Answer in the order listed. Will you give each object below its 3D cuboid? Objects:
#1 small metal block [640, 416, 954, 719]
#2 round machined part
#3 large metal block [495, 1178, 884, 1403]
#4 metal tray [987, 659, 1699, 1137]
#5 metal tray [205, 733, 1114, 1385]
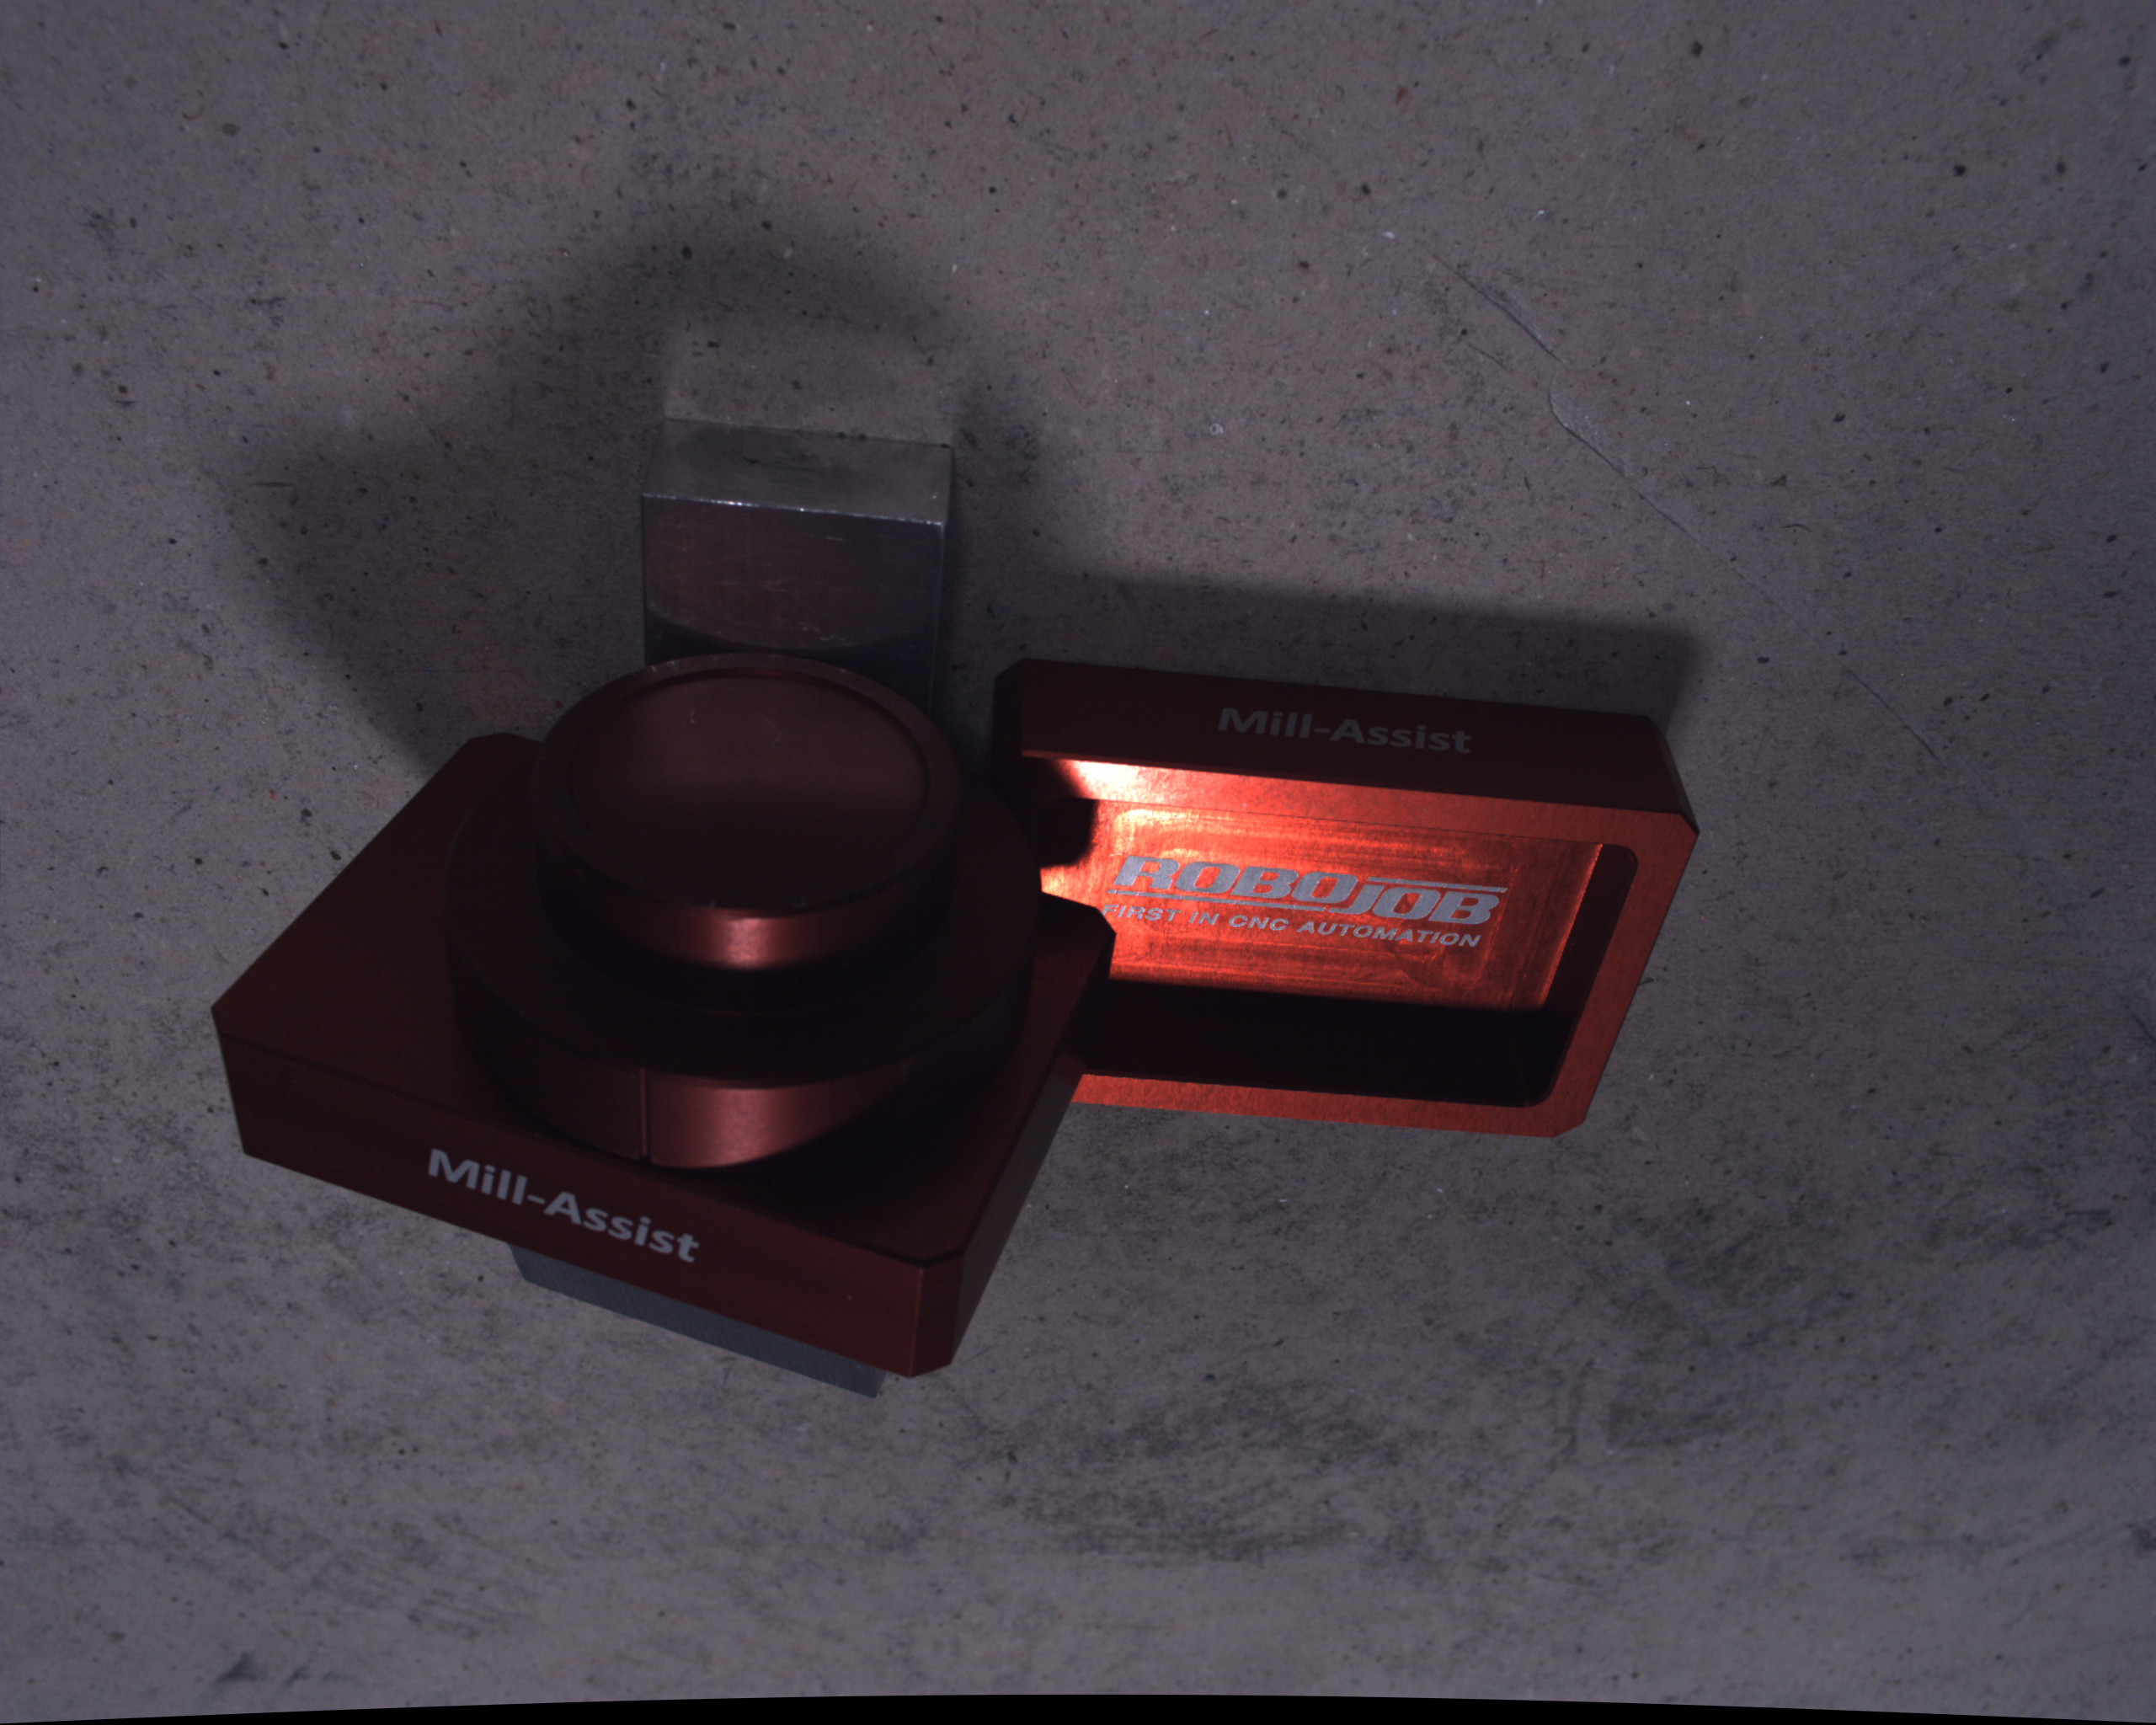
[{"bbox_3d":[-0.050,-0.048,0.368,0.050,0.025,0.050,5,130,-5],"label":"small metal block"},{"bbox_3d":[-0.055,0.002,0.347,0.099,0.098,0.042,5,130,-5],"label":"round machined part"},{"bbox_3d":[-0.070,0.057,0.415,0.080,0.050,0.080,16,144,9],"label":"large metal block"},{"bbox_3d":[0.045,0.010,0.414,0.131,0.030,0.089,5,130,-5],"label":"metal tray"},{"bbox_3d":[-0.069,0.029,0.368,0.131,0.090,0.030,17,131,9],"label":"metal tray"}]
